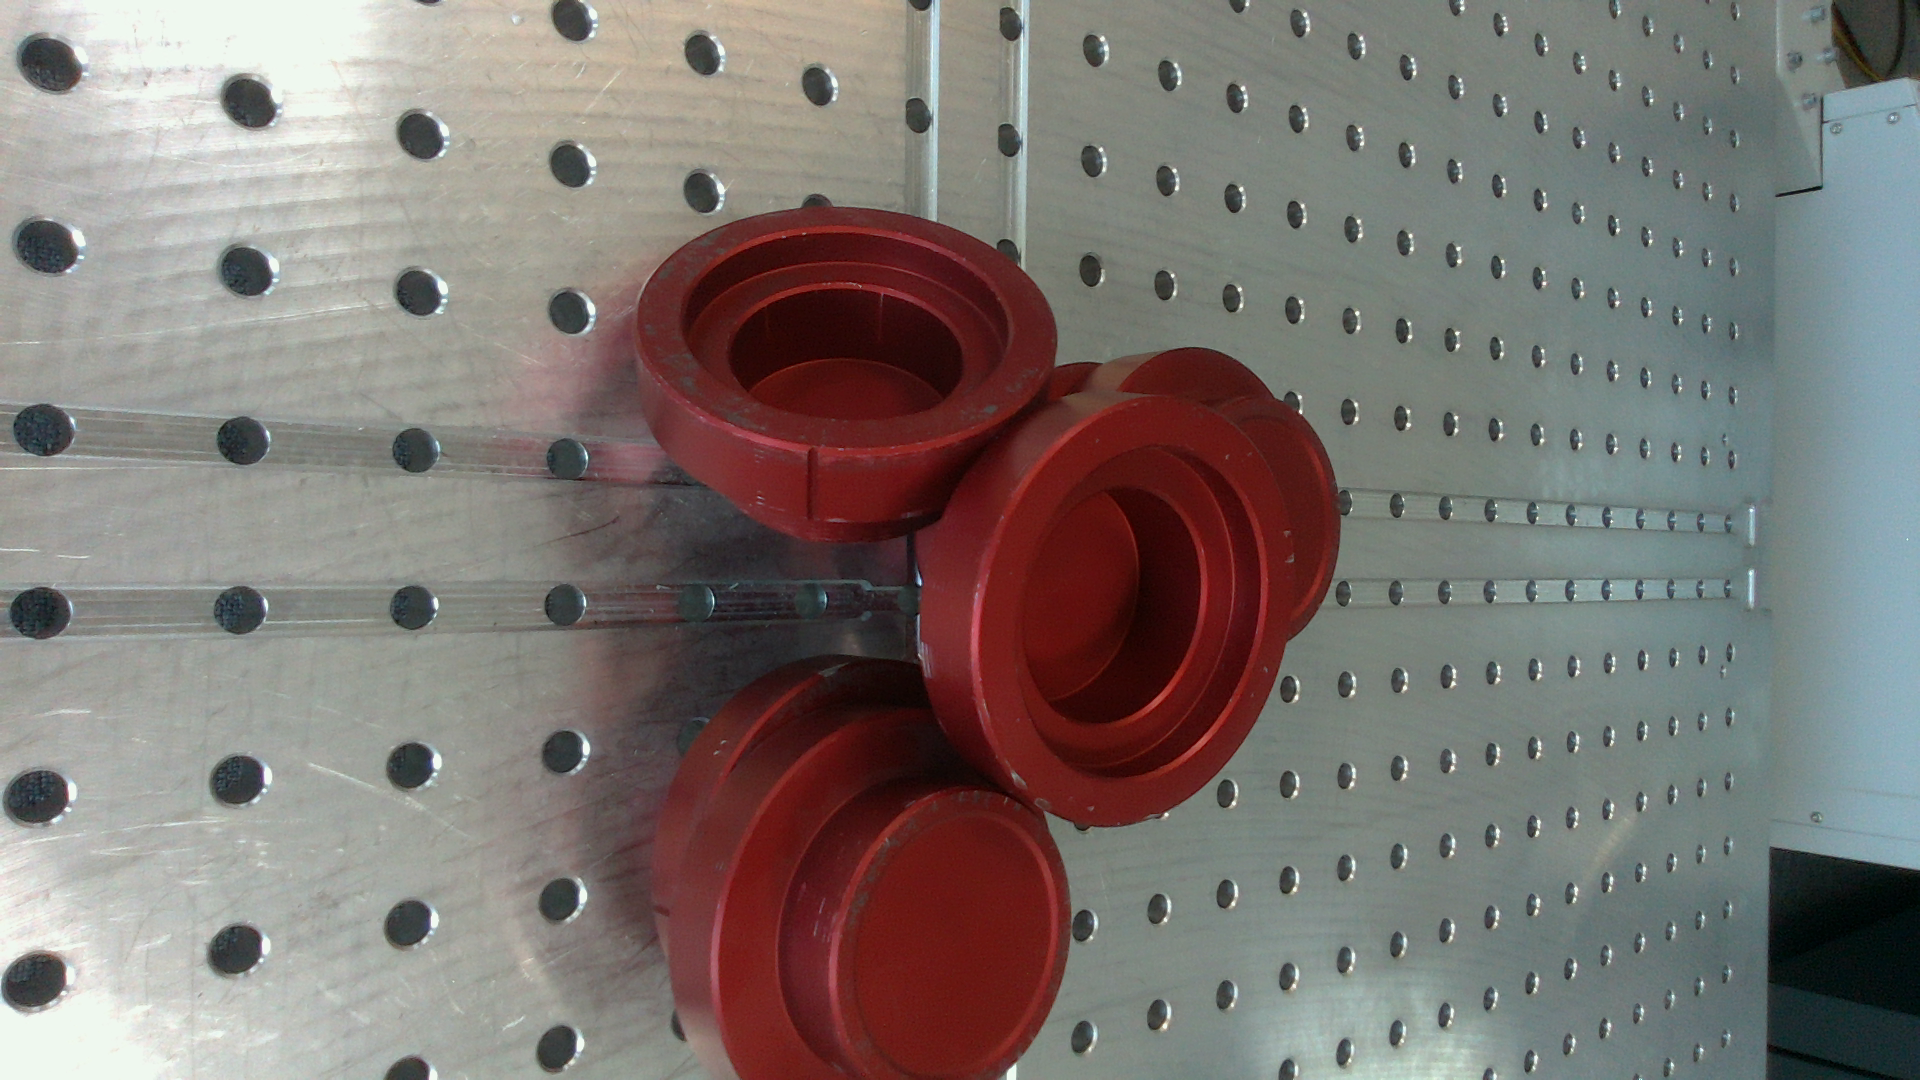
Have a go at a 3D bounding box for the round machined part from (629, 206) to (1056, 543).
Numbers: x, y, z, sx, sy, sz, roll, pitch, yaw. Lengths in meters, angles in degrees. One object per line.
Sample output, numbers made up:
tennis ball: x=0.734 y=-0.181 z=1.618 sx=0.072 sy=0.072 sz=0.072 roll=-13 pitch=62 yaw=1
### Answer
round machined part: x=-0.028 y=-0.037 z=0.332 sx=0.098 sy=0.098 sz=0.042 roll=-34 pitch=146 yaw=-35

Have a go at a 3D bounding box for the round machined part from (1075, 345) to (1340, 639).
round machined part: x=0.068 y=-0.005 z=0.381 sx=0.098 sy=0.042 sz=0.098 roll=1 pitch=89 yaw=-40

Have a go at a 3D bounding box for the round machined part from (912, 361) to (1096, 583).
round machined part: x=0.037 y=-0.001 z=0.385 sx=0.098 sy=0.042 sz=0.098 roll=0 pitch=90 yaw=-40

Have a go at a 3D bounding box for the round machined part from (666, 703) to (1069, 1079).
round machined part: x=-0.013 y=0.088 z=0.314 sx=0.098 sy=0.042 sz=0.098 roll=0 pitch=90 yaw=-40

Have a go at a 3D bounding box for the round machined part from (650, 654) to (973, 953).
round machined part: x=-0.022 y=0.078 z=0.335 sx=0.098 sy=0.042 sz=0.098 roll=0 pitch=90 yaw=-40

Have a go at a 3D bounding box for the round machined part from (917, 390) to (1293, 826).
round machined part: x=0.030 y=0.013 z=0.322 sx=0.098 sy=0.042 sz=0.098 roll=-7 pitch=102 yaw=-36
